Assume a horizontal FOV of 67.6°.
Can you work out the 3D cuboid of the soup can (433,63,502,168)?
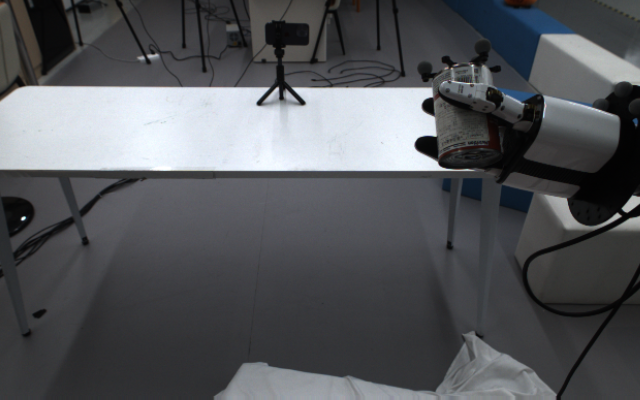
[{"bbox_3d":[0.163,-0.096,0.545,0.067,0.067,0.101,-1,76,-4],"label":"soup can"}]
